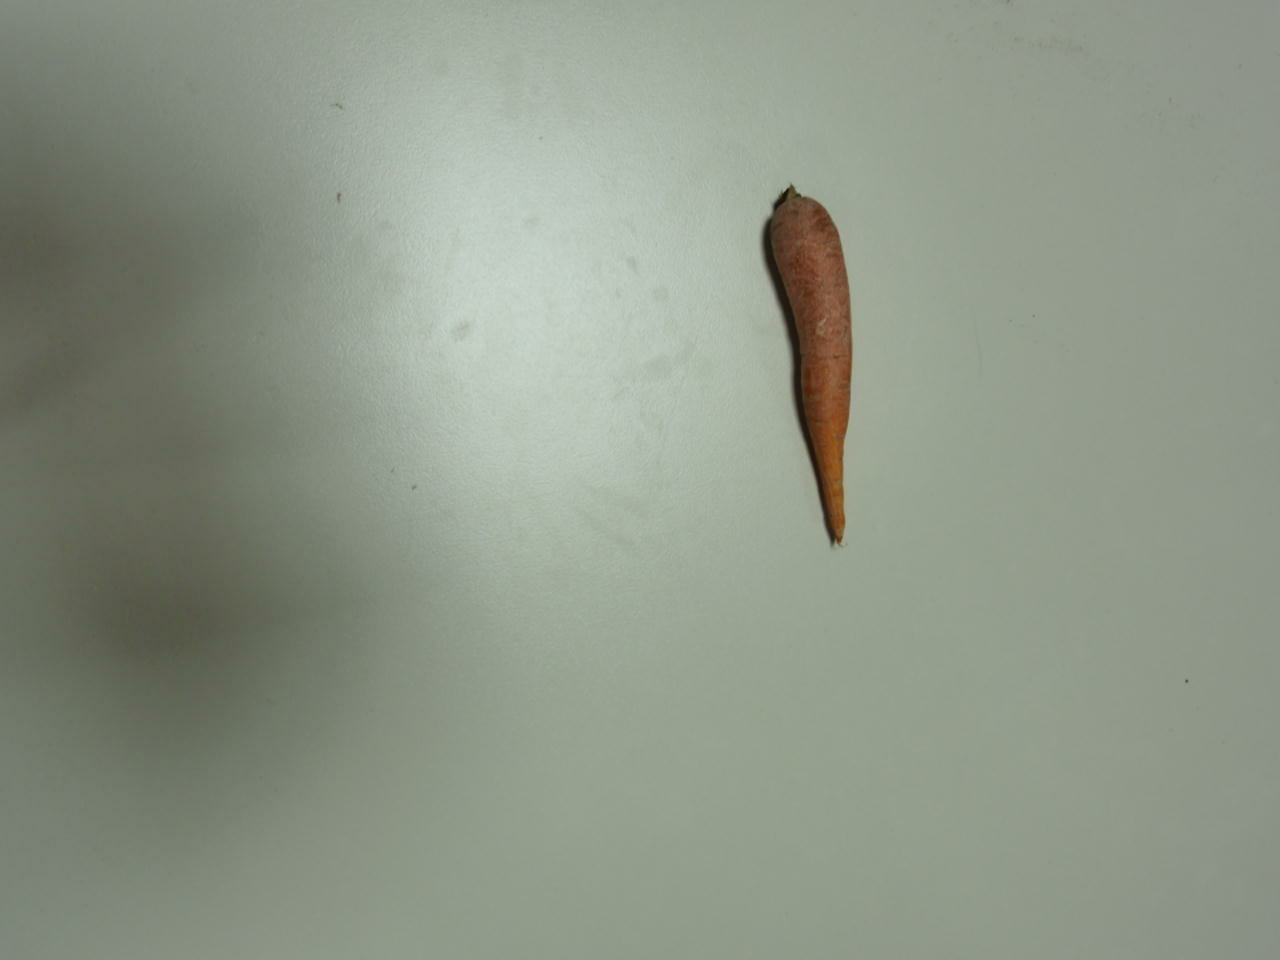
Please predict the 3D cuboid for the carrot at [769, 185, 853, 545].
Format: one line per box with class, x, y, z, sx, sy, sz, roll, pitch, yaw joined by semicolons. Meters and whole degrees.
carrot;0.085;-0.052;0.453;0.031;0.029;0.163;-10;93;-12
